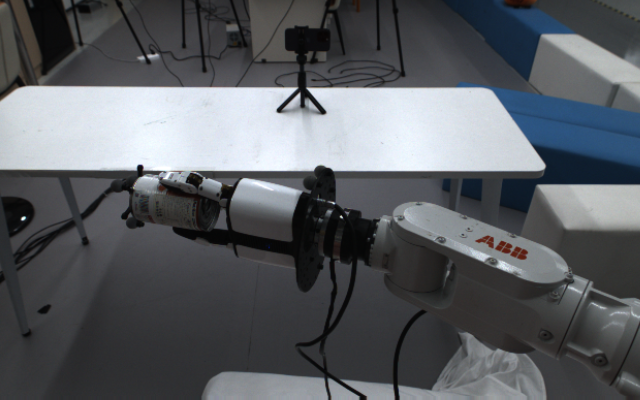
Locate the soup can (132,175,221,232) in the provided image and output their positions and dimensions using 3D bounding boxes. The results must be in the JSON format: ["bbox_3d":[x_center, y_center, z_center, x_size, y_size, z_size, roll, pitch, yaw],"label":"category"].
[{"bbox_3d":[-0.193,0.005,0.657,0.101,0.067,0.067,8,35,10],"label":"soup can"}]
